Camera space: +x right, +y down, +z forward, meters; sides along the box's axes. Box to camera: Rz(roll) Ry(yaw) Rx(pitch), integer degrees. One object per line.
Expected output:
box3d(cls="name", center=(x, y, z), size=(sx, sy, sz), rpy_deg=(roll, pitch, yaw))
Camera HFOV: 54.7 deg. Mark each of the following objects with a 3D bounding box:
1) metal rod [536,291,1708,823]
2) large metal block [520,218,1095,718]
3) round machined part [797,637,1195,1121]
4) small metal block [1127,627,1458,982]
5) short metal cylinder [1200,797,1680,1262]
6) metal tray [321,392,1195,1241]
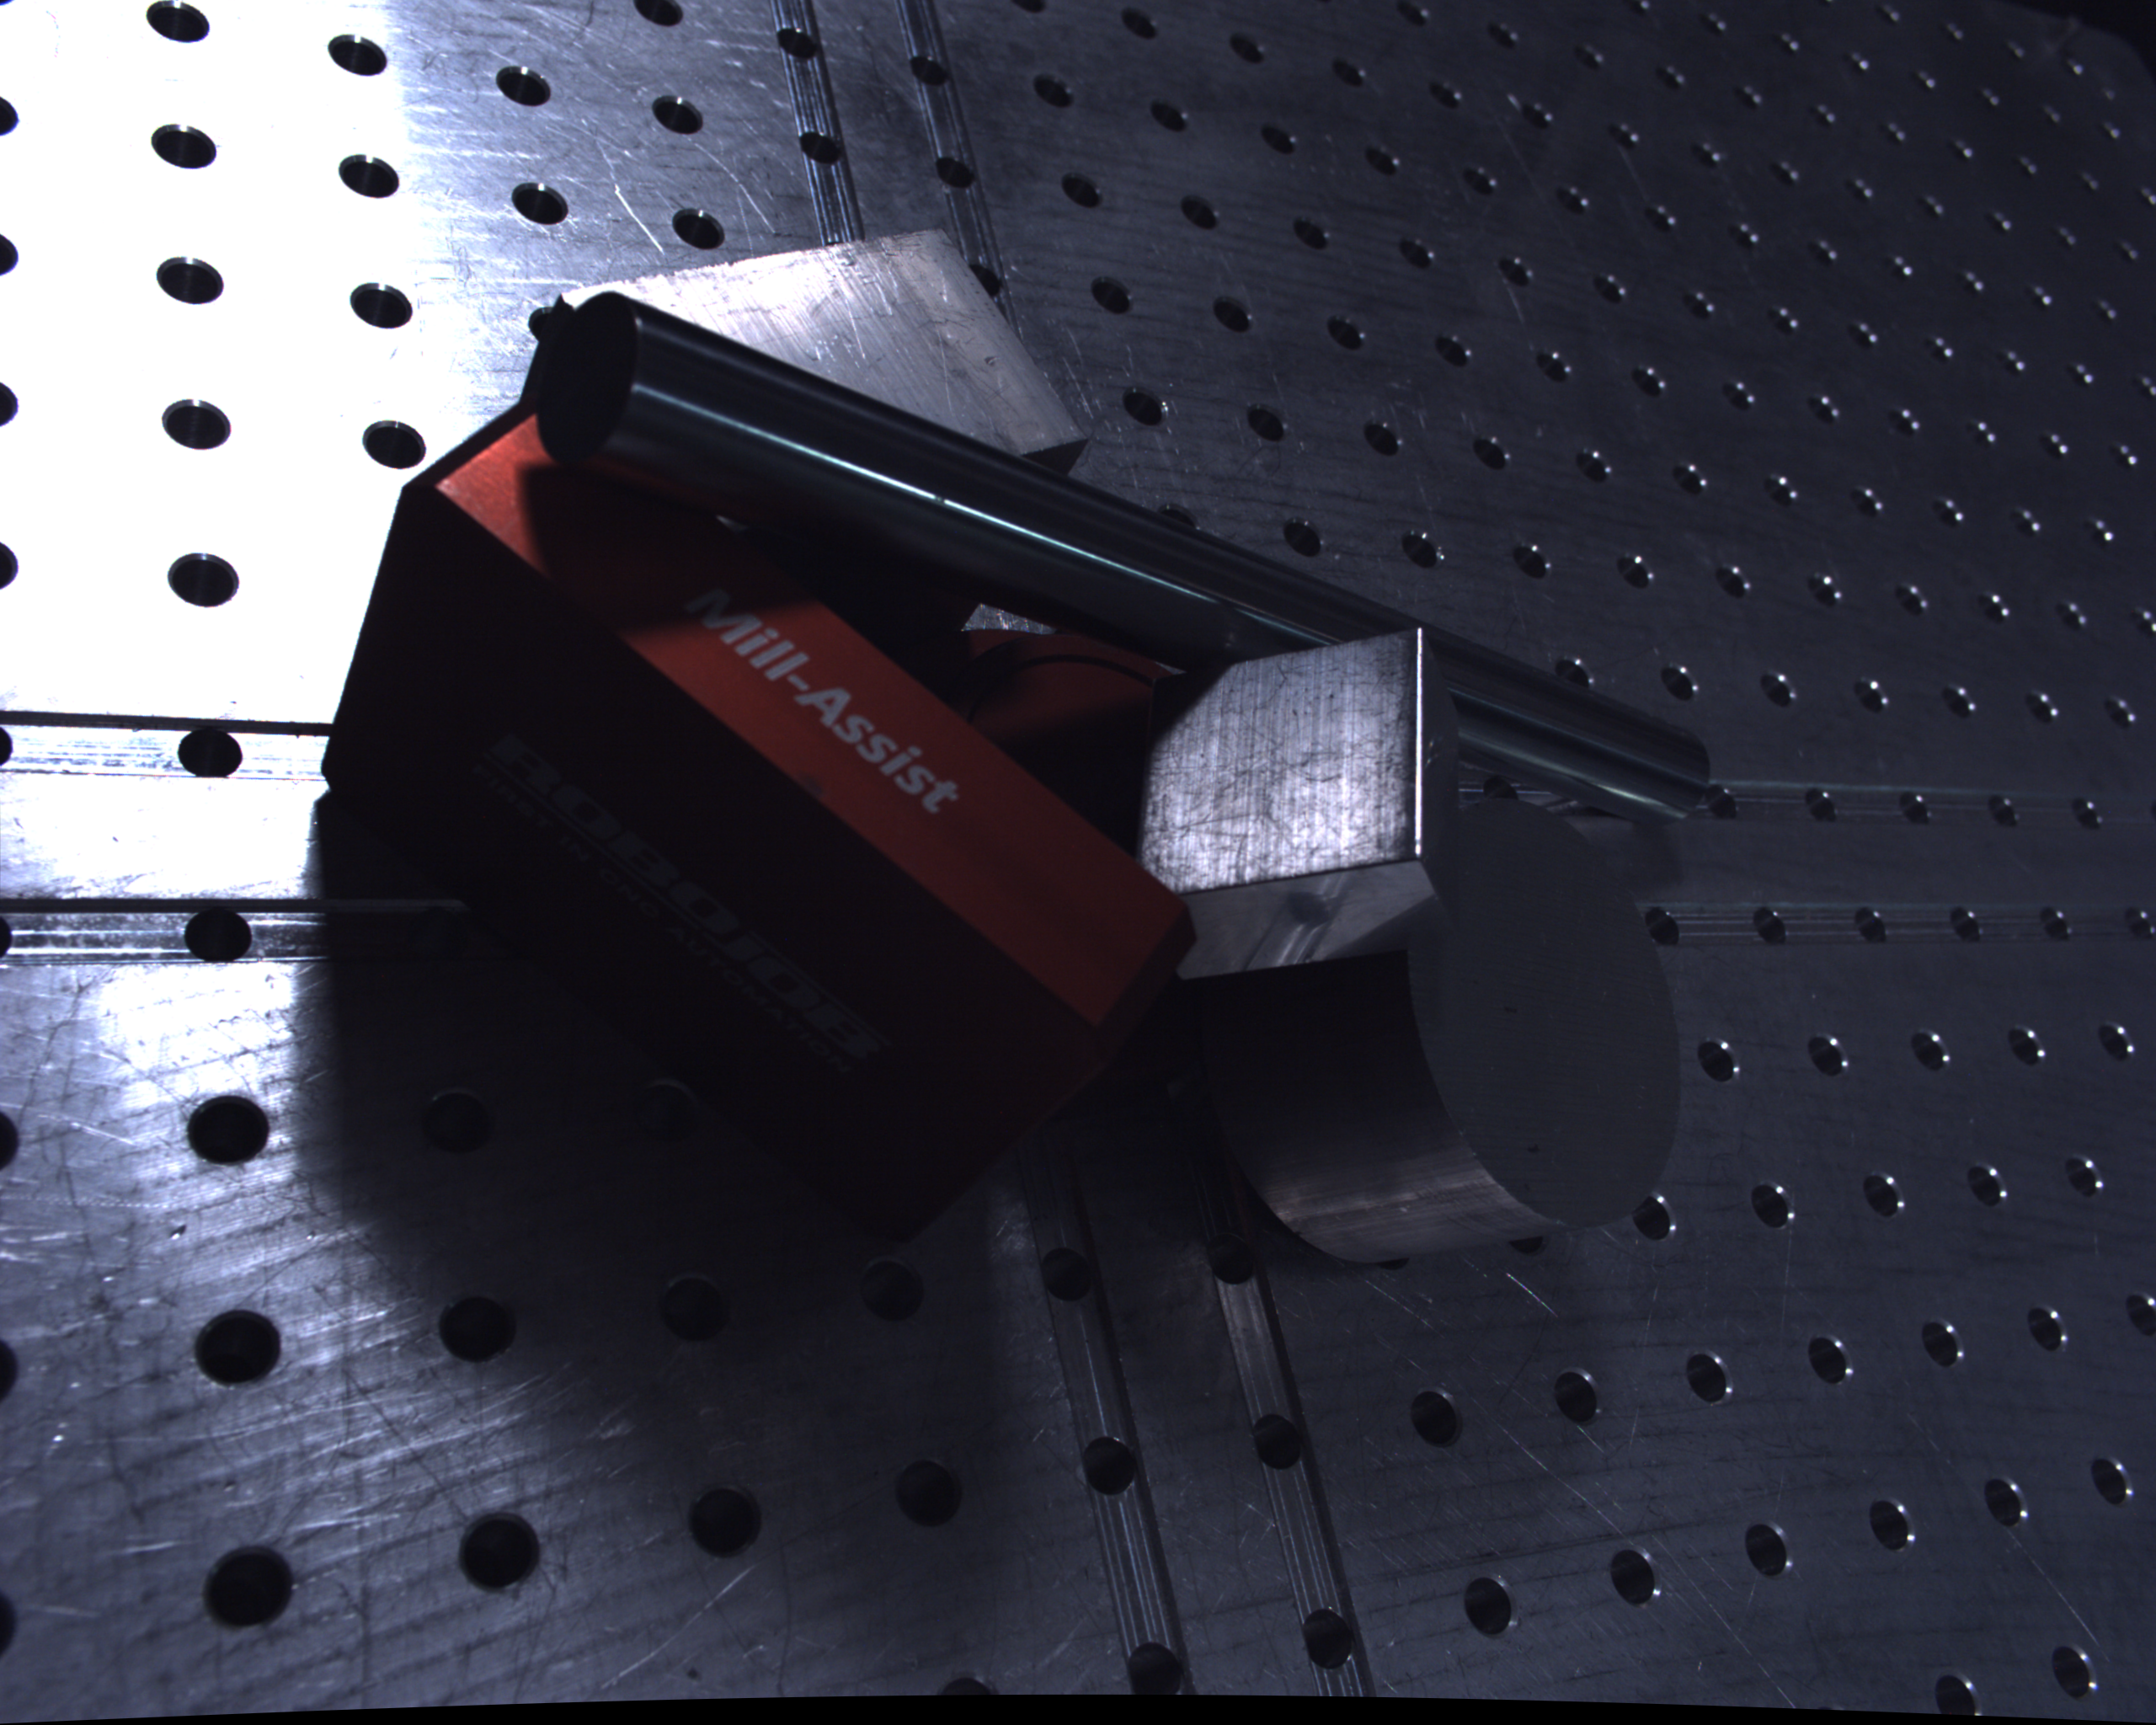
box3d(cls="metal rod", center=(0.036, -0.044, 0.395), size=(0.302, 0.025, 0.025), rpy_deg=(12, 54, -45))
box3d(cls="large metal block", center=(-0.057, -0.066, 0.381), size=(0.081, 0.080, 0.050), rpy_deg=(-23, 75, -37))
box3d(cls="round machined part", center=(-0.005, -0.003, 0.401), size=(0.099, 0.042, 0.098), rpy_deg=(14, 56, -21))
box3d(cls="small metal block", center=(0.038, -0.010, 0.364), size=(0.025, 0.050, 0.050), rpy_deg=(57, 32, -47))
box3d(cls="short metal cylinder", center=(0.069, 0.033, 0.396), size=(0.081, 0.050, 0.080), rpy_deg=(17, 64, -39))
box3d(cls="metal tray", center=(-0.056, -0.003, 0.338), size=(0.130, 0.090, 0.030), rpy_deg=(40, 51, -2))
